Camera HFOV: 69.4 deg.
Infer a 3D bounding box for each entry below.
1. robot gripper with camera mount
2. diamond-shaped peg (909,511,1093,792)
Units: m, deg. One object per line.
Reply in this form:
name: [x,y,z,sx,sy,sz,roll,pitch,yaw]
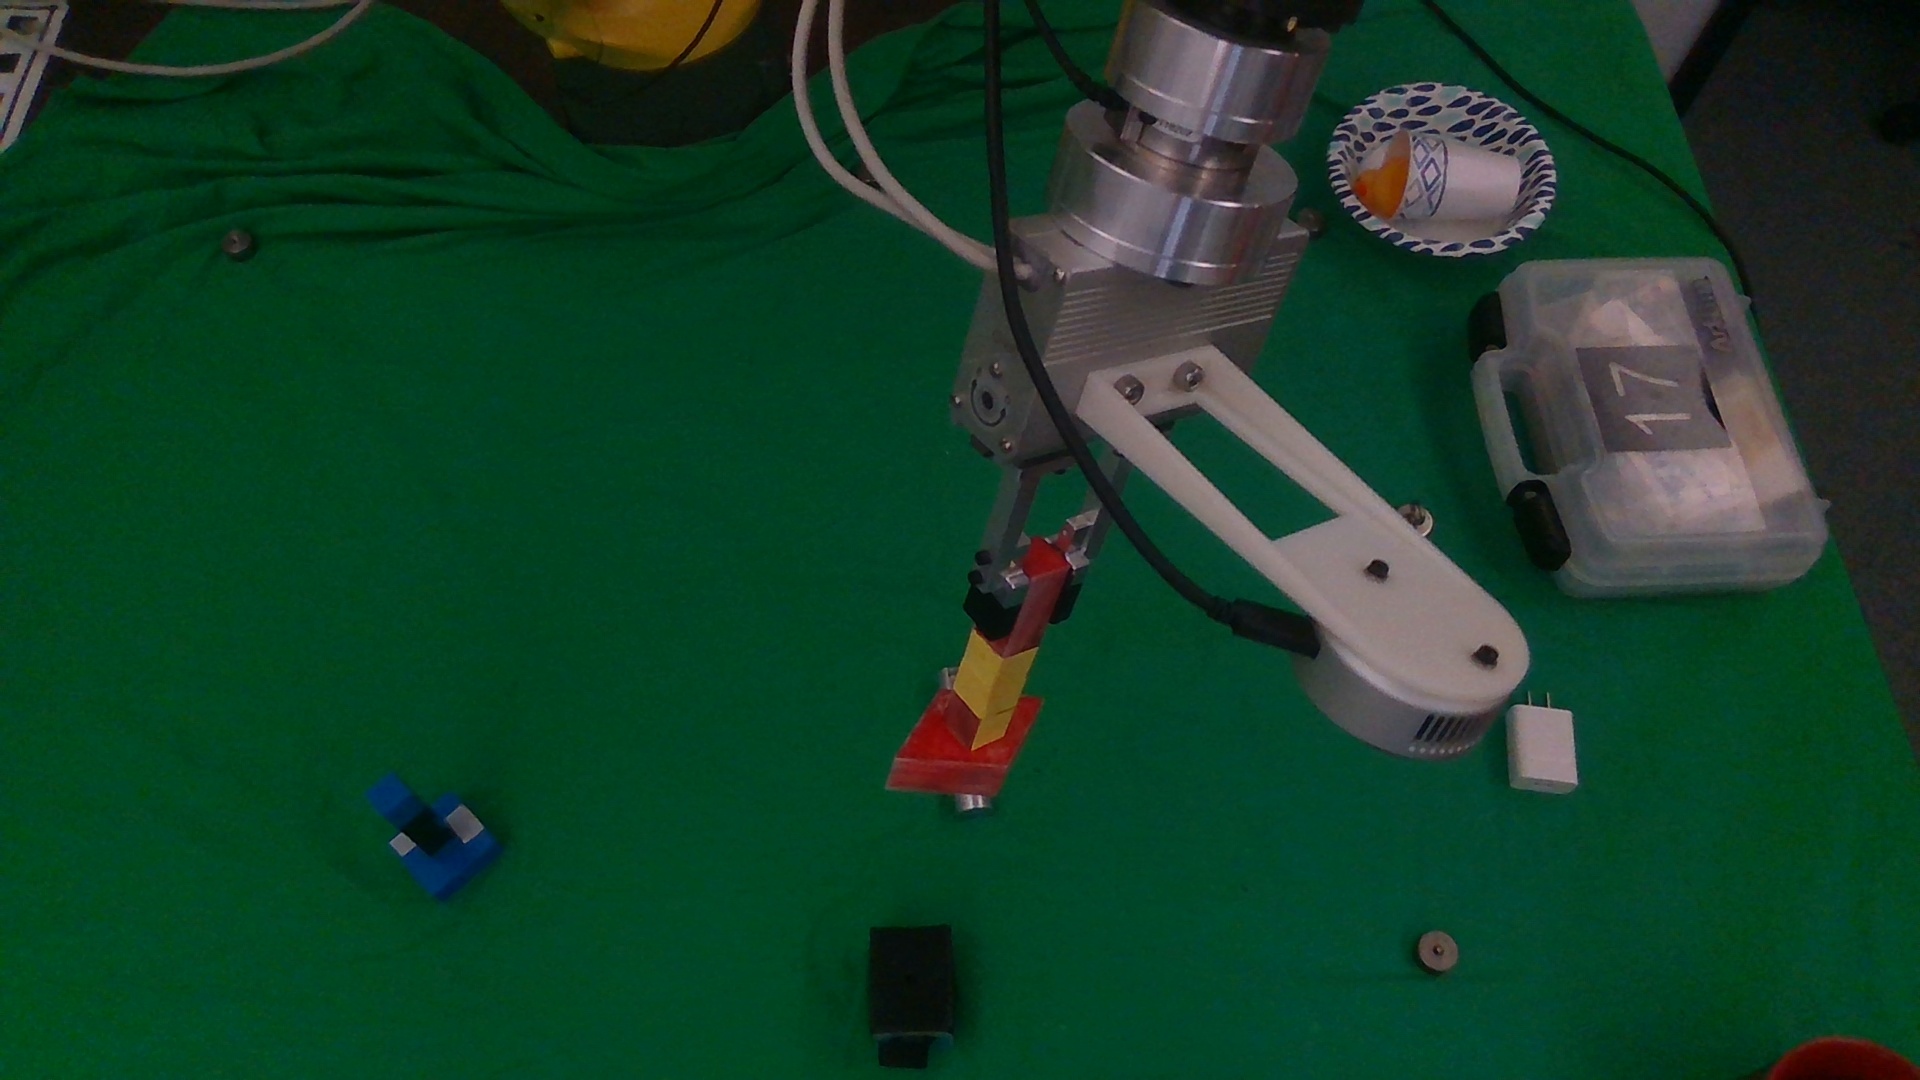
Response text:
robot gripper with camera mount: [0.102,0.007,0.462,0.118,0.159,0.194,-20,51,-40]
diamond-shaped peg: [0.025,0.044,0.562,0.045,0.122,0.074,25,35,14]
